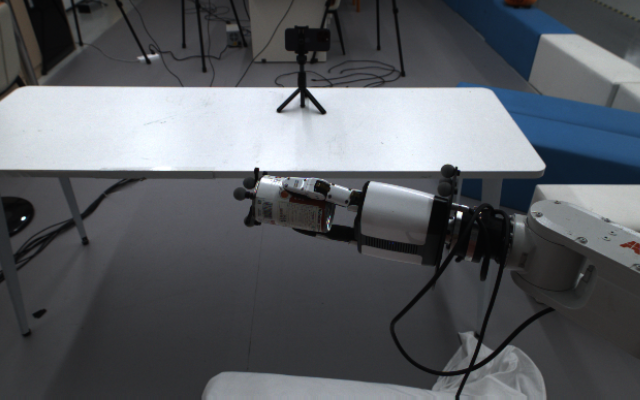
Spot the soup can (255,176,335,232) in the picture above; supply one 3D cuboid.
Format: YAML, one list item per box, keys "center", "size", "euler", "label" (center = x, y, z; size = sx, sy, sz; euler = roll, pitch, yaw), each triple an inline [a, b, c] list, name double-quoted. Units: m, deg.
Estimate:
- center: [-0.031, 0.005, 0.658]
  size: [0.101, 0.067, 0.067]
  euler: [8, 35, 10]
  label: "soup can"
